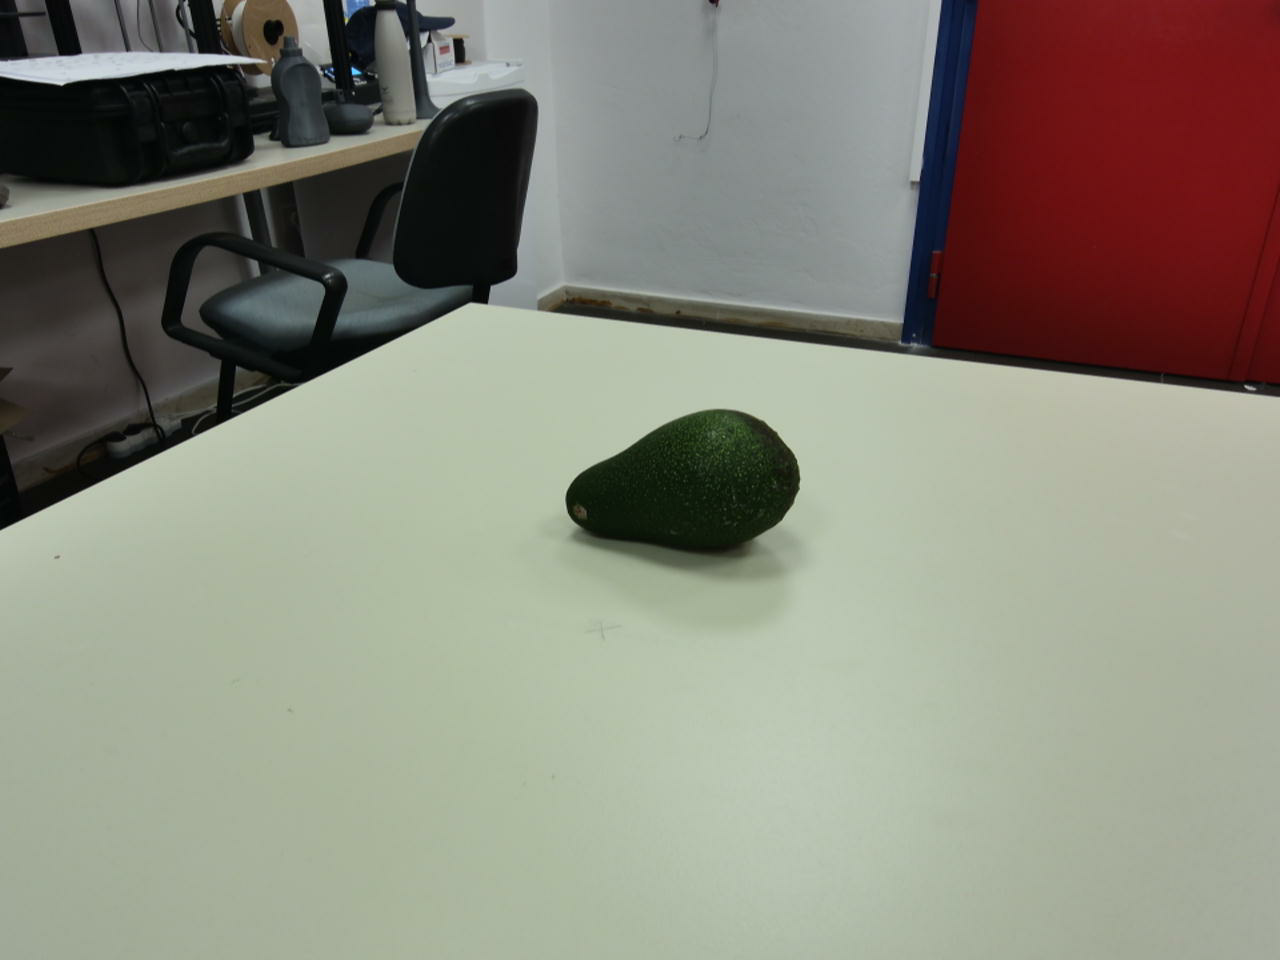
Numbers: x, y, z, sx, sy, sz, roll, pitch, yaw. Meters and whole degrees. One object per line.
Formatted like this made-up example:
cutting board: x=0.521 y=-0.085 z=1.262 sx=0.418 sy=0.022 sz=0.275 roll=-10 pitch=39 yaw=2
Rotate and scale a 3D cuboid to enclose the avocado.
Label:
avocado: x=0.026 y=-0.003 z=0.534 sx=0.123 sy=0.076 sz=0.074 roll=14 pitch=28 yaw=28
